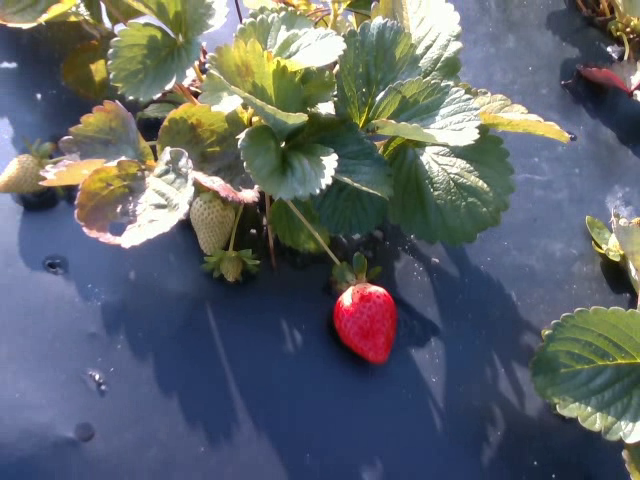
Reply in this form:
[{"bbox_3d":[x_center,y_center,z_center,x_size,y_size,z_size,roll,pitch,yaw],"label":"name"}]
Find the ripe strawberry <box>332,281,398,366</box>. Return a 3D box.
[{"bbox_3d":[0.023,0.039,0.273,0.030,0.045,0.033,-22,-31,23],"label":"ripe strawberry"}]
